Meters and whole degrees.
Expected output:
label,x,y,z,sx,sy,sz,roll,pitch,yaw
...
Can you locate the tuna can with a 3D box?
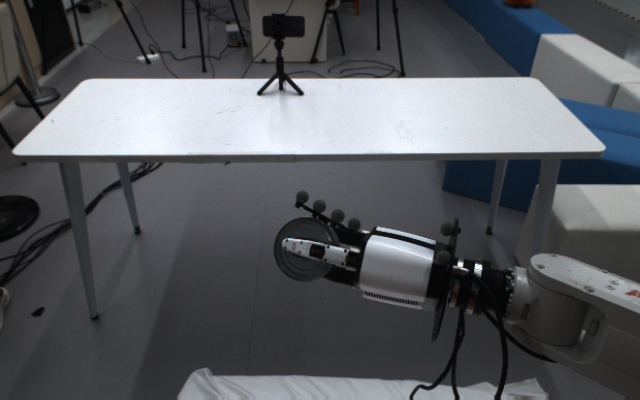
label,x,y,z,sx,sy,sz,roll,pitch,yaw
tuna can,-0.015,0.065,0.649,0.085,0.085,0.034,9,-4,11
